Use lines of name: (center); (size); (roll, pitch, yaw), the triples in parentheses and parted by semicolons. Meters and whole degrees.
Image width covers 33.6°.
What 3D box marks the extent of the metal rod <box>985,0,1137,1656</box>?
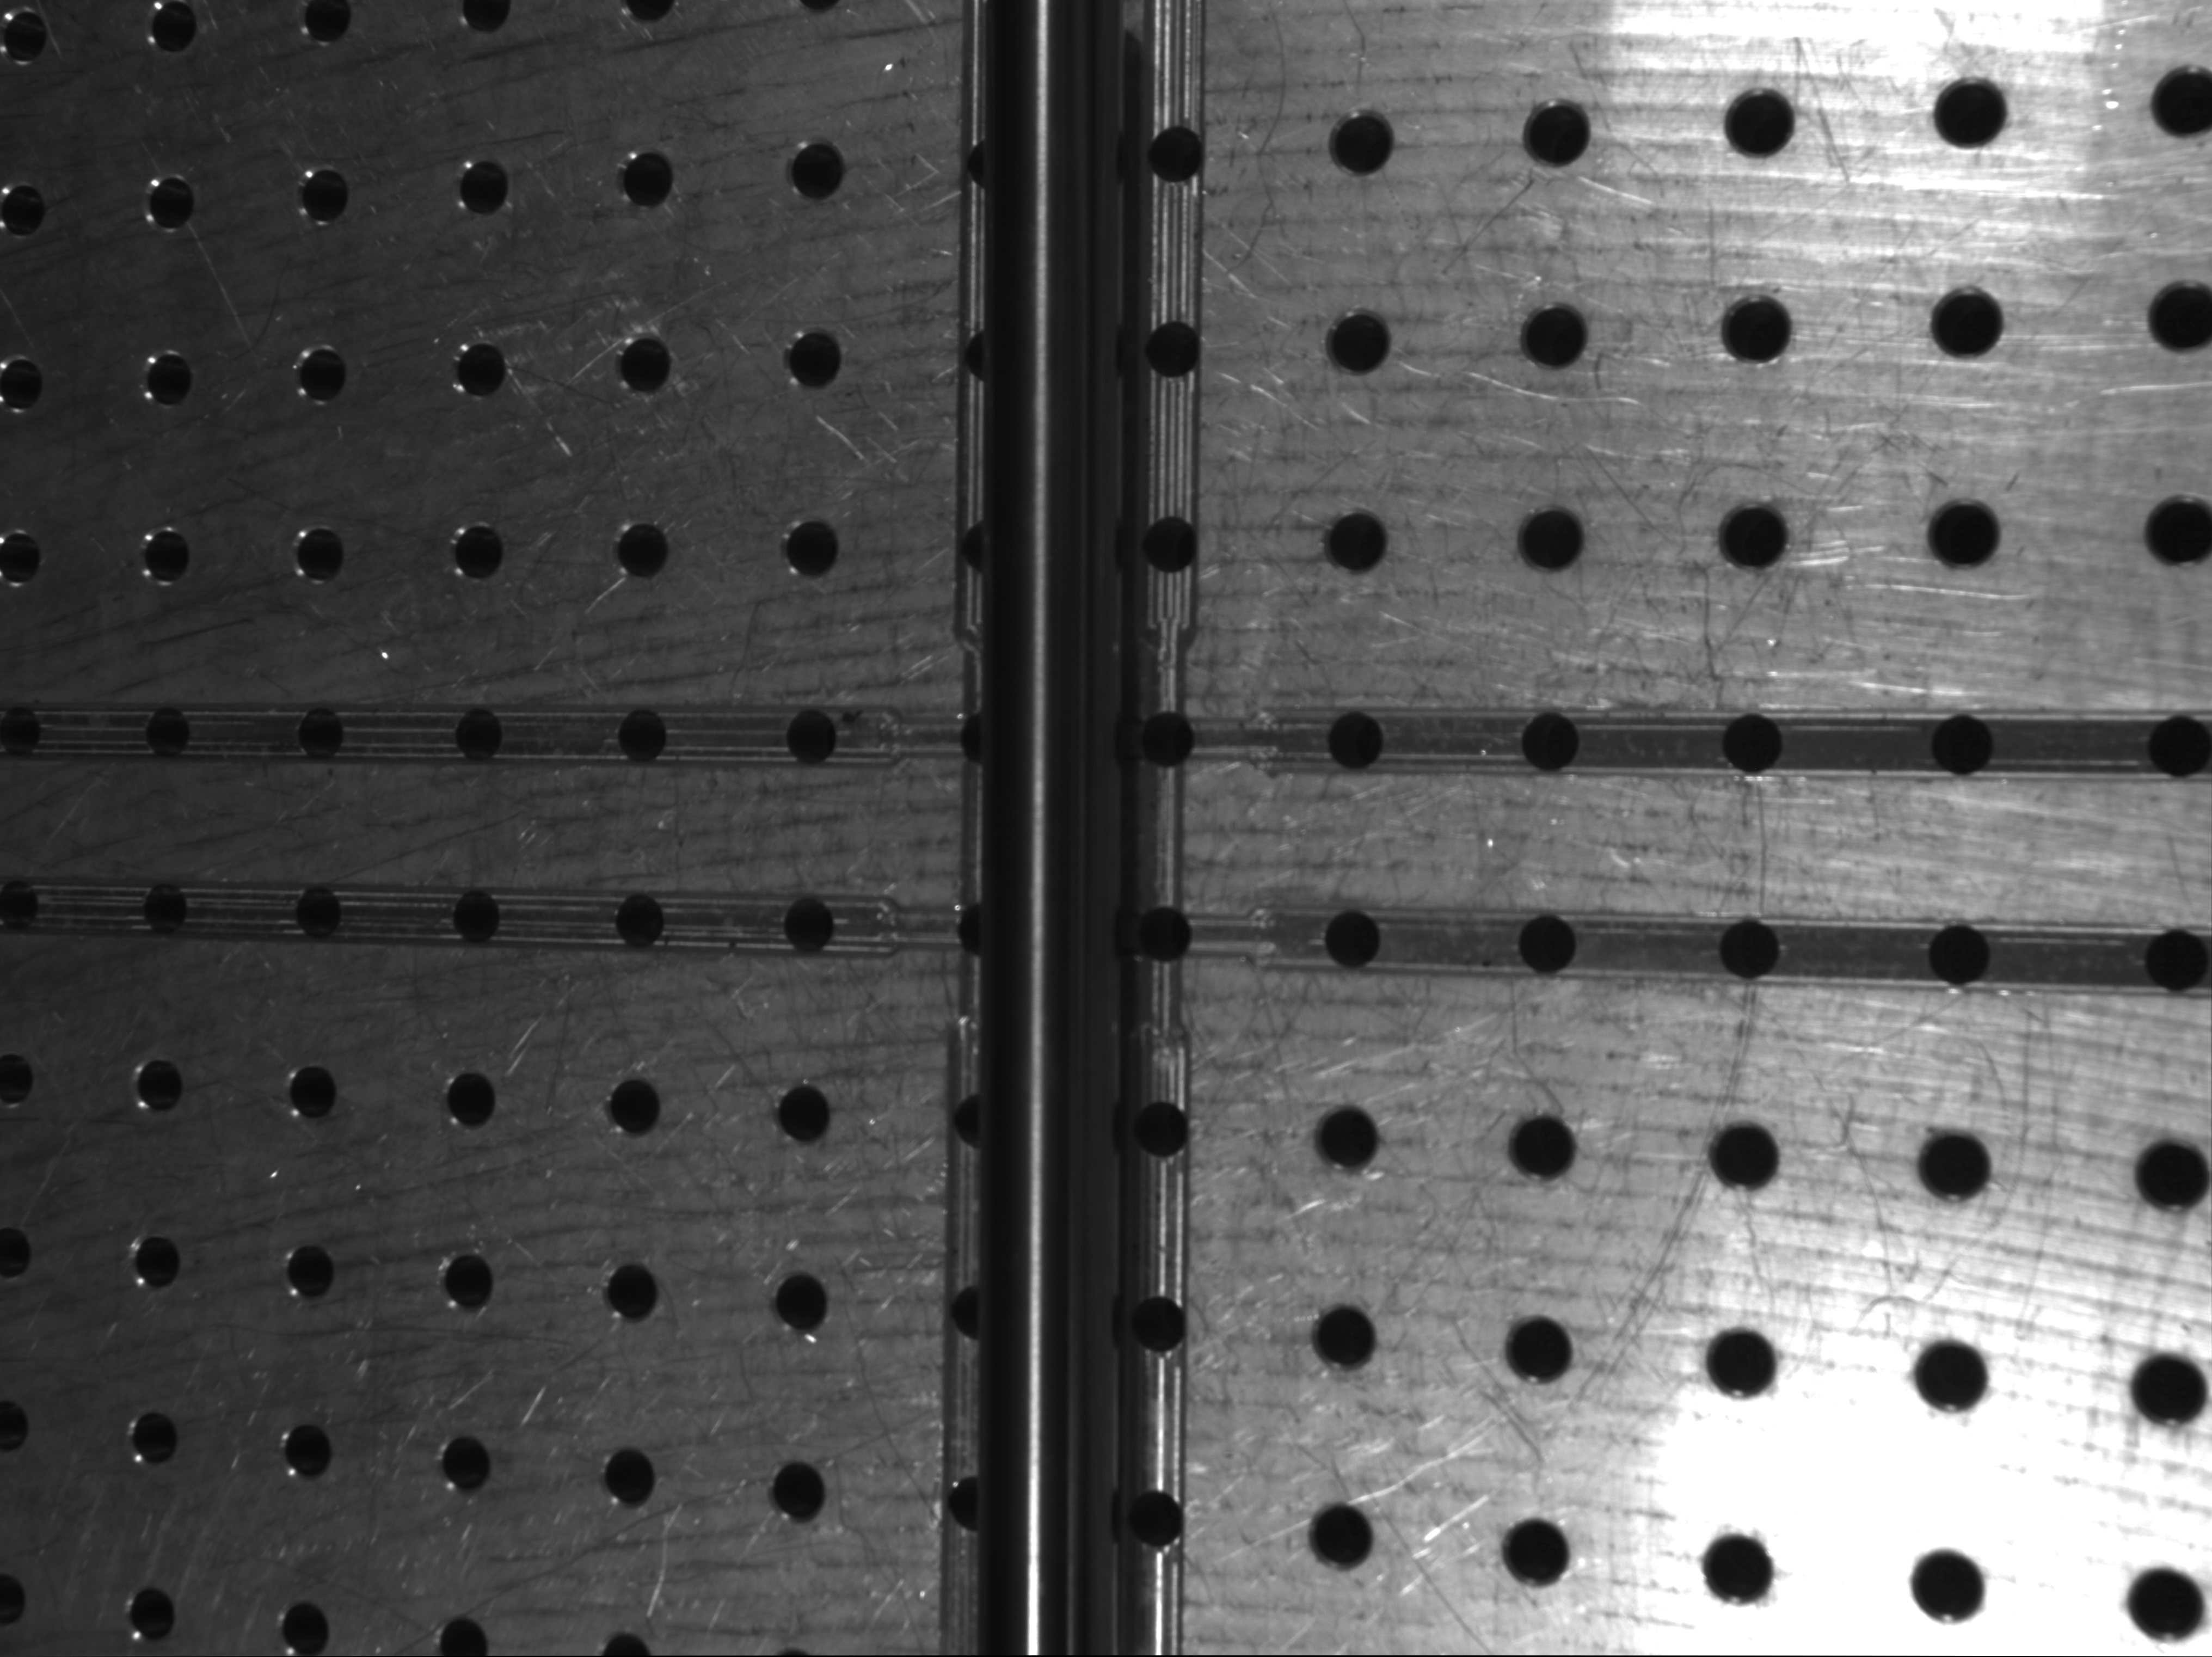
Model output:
metal rod: (-0.008, 0.004, 0.649); (0.025, 0.025, 0.300); (0, 90, 20)
